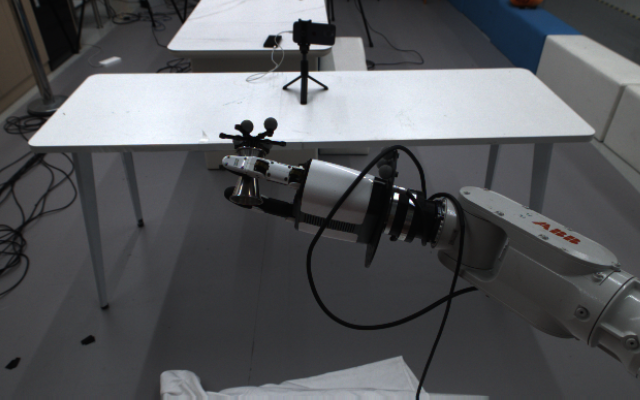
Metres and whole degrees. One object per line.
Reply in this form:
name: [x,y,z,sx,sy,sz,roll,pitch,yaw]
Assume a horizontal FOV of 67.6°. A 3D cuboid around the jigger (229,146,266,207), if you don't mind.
jigger: [-0.095,-0.032,0.638,0.043,0.043,0.071,3,75,2]
